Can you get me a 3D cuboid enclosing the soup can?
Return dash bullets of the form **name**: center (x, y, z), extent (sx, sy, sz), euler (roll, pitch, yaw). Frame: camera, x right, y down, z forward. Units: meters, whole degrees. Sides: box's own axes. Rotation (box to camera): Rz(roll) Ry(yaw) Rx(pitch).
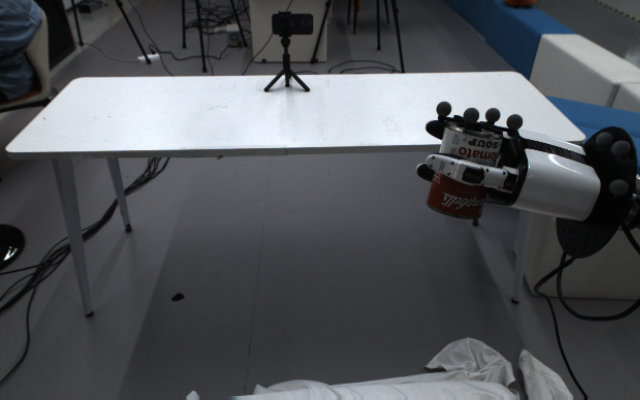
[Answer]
- **soup can**: center (0.174, -0.037, 0.579), extent (0.067, 0.101, 0.067), euler (9, 19, -3)
